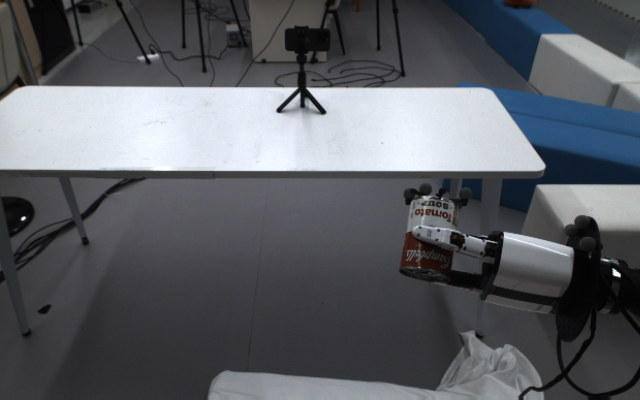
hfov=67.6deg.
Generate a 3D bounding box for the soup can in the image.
[{"bbox_3d":[0.150,0.051,0.652,0.067,0.067,0.101,9,72,10],"label":"soup can"}]
